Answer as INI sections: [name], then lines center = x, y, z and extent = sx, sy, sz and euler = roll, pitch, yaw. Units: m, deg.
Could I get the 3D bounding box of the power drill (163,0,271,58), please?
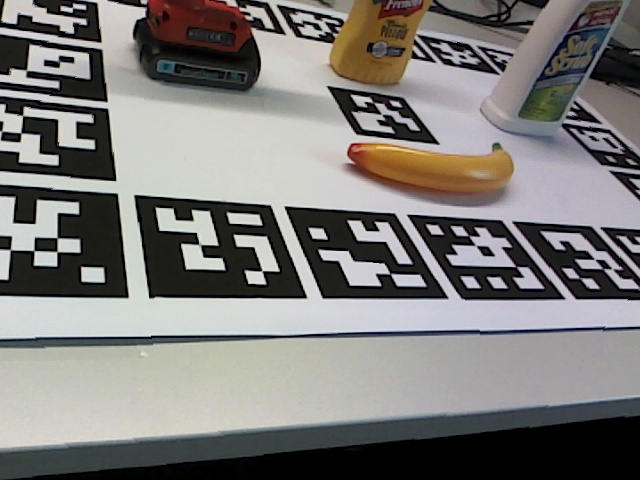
[power drill]
center = -0.068, -0.265, 0.570
extent = 0.183, 0.187, 0.058
euler = -5, 45, -26

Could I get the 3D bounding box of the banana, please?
[banana]
center = 0.120, -0.075, 0.589
extent = 0.196, 0.039, 0.074
euler = -4, 46, -26

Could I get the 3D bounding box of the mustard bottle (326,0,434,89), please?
[mustard bottle]
center = 0.080, -0.268, 0.698
extent = 0.095, 0.191, 0.059
euler = -3, 44, -32

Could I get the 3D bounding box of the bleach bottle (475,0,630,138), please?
[bleach bottle]
center = 0.282, -0.242, 0.713
extent = 0.102, 0.251, 0.068
euler = 8, 39, -19
